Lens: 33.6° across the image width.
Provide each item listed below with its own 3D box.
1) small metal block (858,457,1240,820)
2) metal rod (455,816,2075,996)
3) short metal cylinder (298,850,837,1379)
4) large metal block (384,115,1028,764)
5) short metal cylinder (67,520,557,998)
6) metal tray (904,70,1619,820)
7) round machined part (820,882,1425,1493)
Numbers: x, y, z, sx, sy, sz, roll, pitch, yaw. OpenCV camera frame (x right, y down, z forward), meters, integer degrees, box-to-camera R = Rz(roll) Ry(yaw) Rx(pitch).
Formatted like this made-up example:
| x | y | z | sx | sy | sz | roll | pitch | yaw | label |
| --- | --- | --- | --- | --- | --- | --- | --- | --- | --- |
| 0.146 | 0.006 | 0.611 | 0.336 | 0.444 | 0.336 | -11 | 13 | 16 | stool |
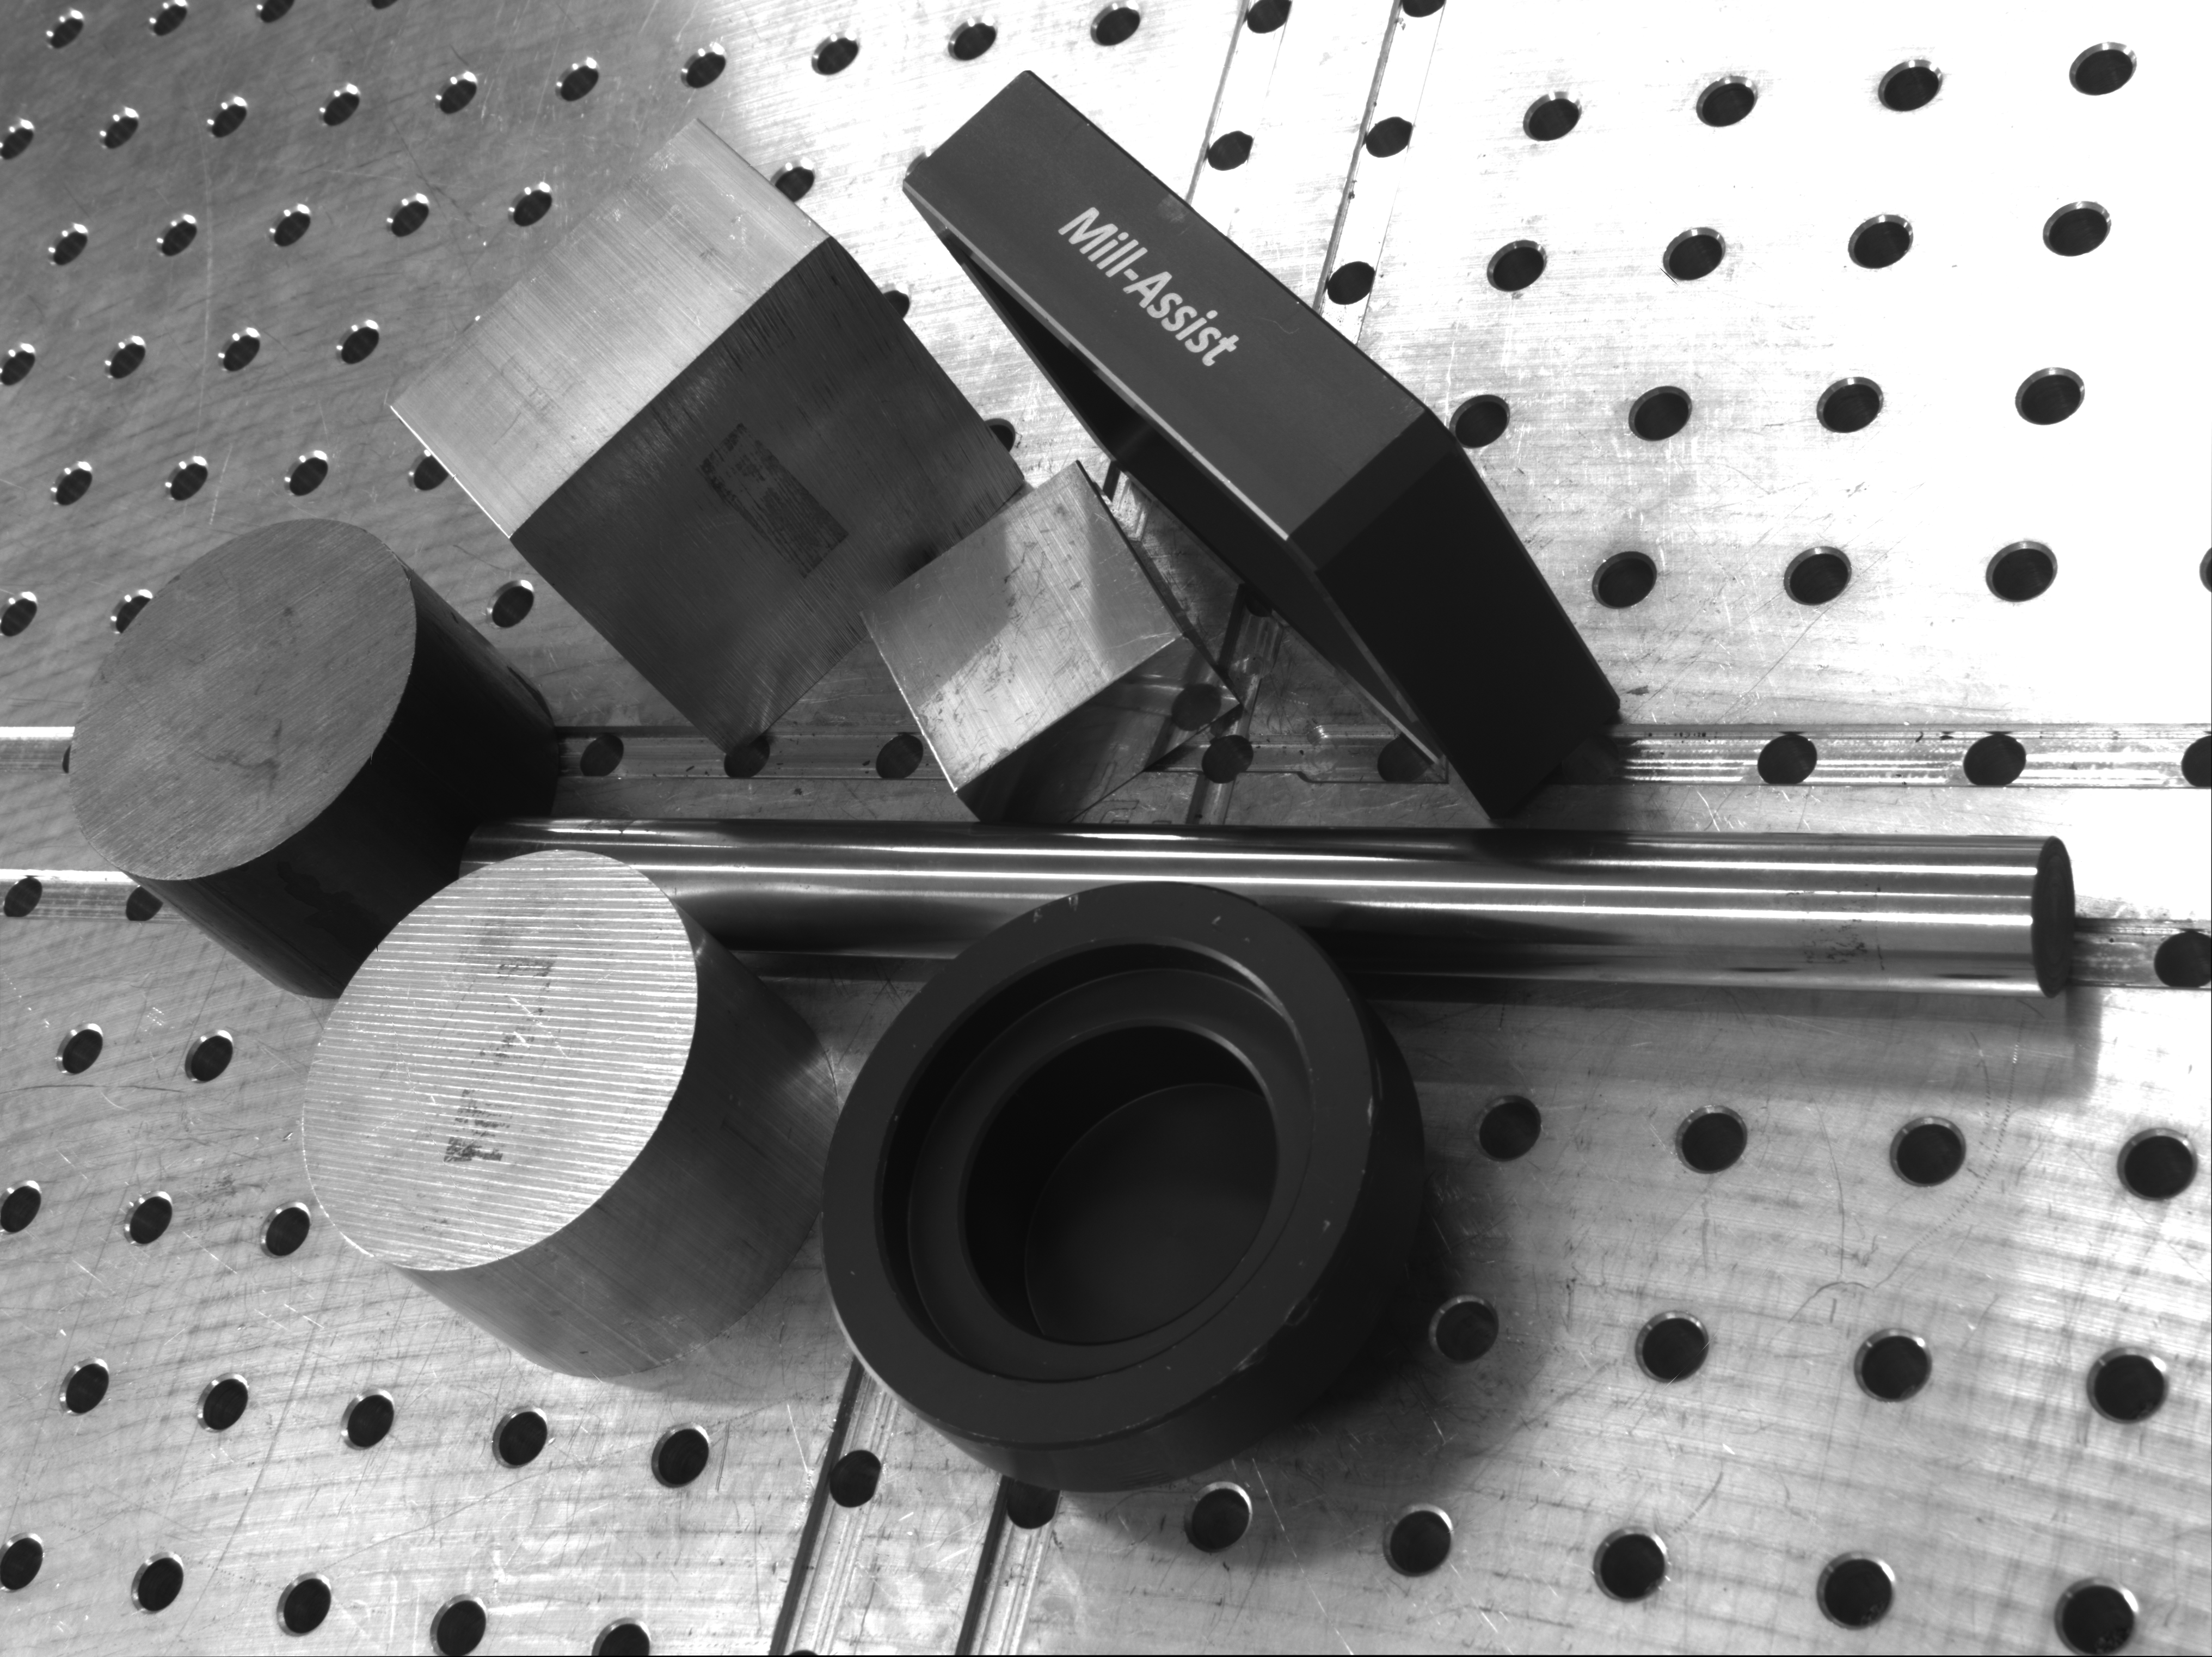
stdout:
| x | y | z | sx | sy | sz | roll | pitch | yaw | label |
| --- | --- | --- | --- | --- | --- | --- | --- | --- | --- |
| -0.011 | -0.032 | 0.674 | 0.050 | 0.025 | 0.050 | -34 | 51 | 6 | small metal block |
| 0.014 | 0.012 | 0.633 | 0.299 | 0.025 | 0.025 | 1 | 62 | 29 | metal rod |
| -0.095 | 0.051 | 0.651 | 0.080 | 0.050 | 0.080 | -14 | 56 | 21 | short metal cylinder |
| -0.075 | -0.073 | 0.698 | 0.080 | 0.080 | 0.050 | -44 | 51 | -2 | large metal block |
| -0.156 | -0.014 | 0.724 | 0.080 | 0.050 | 0.080 | -14 | 56 | 21 | short metal cylinder |
| 0.026 | -0.067 | 0.632 | 0.030 | 0.090 | 0.130 | -42 | 51 | -1 | metal tray |
| 0.006 | 0.061 | 0.596 | 0.098 | 0.042 | 0.098 | -13 | 56 | 21 | round machined part |
